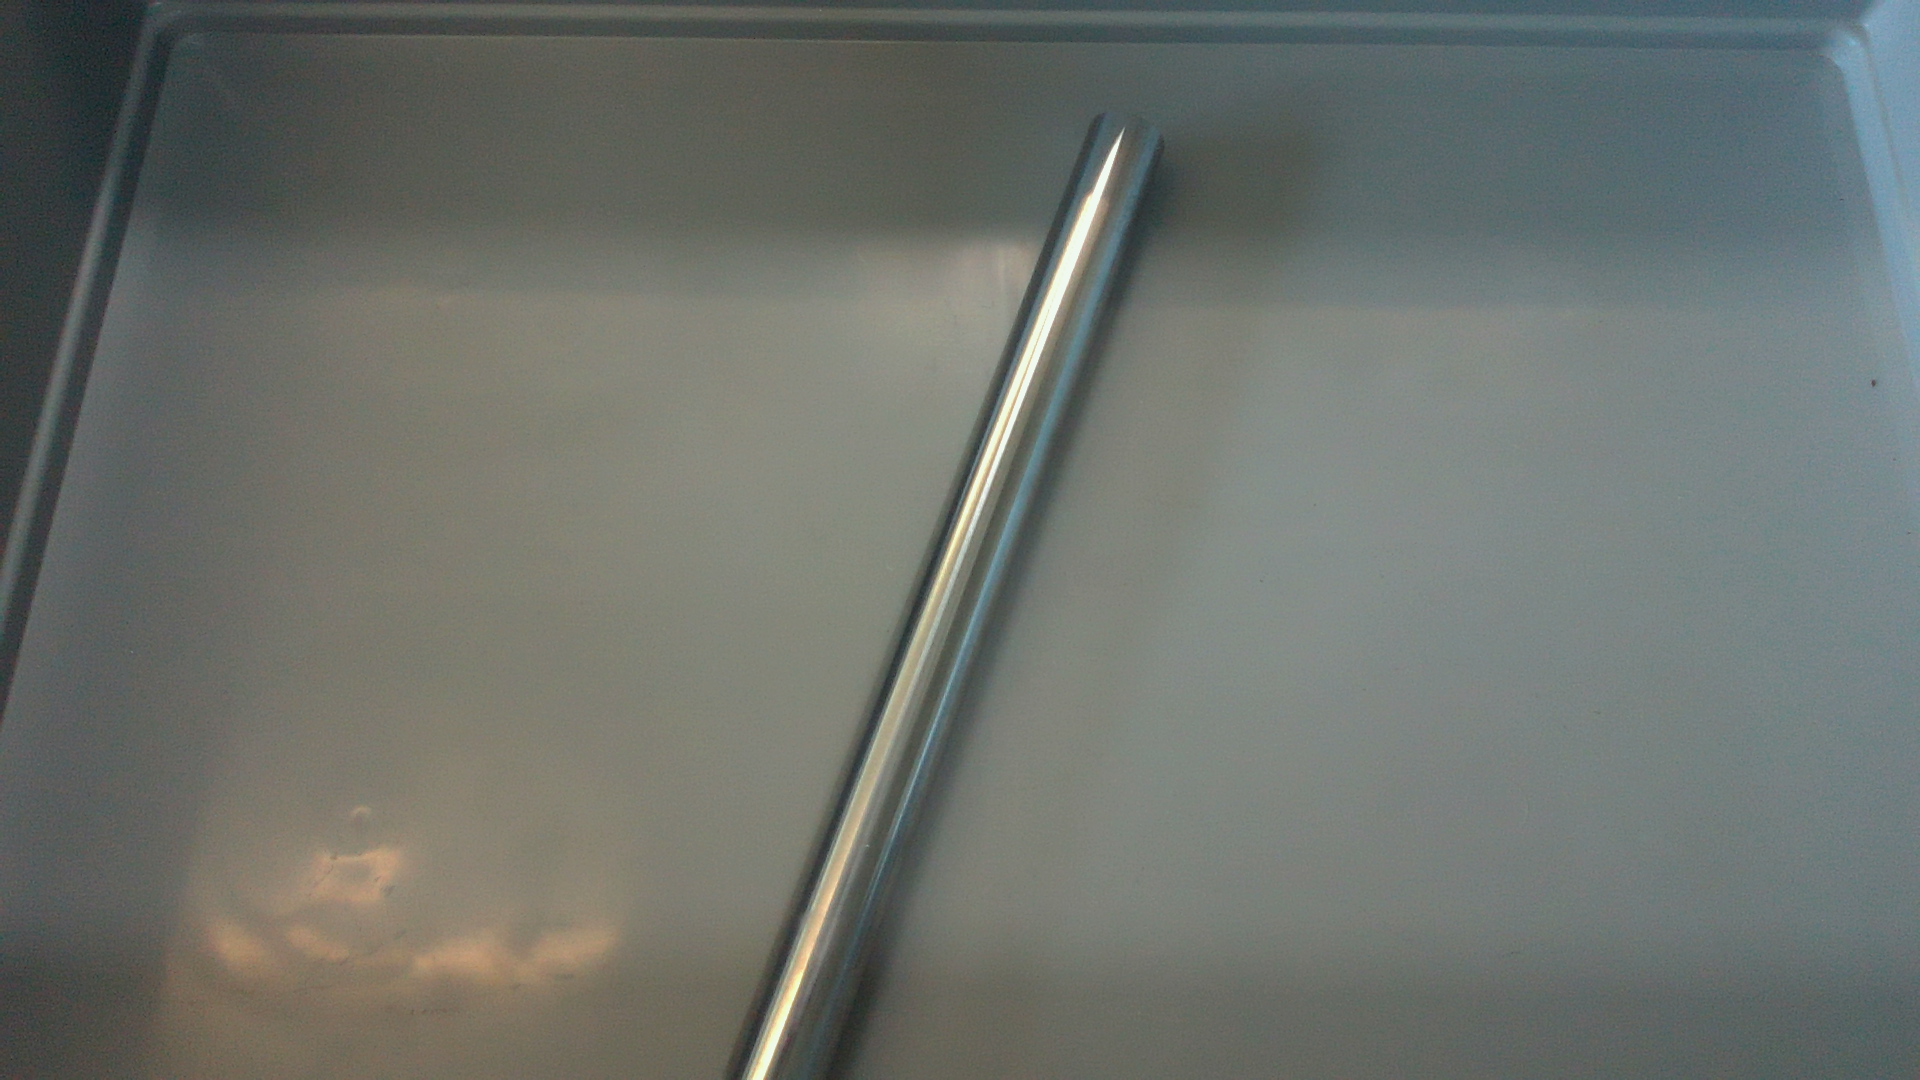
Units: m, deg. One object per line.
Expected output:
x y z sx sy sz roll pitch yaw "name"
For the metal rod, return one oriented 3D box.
0.001 0.005 0.391 0.025 0.025 0.300 19 71 7 "metal rod"
